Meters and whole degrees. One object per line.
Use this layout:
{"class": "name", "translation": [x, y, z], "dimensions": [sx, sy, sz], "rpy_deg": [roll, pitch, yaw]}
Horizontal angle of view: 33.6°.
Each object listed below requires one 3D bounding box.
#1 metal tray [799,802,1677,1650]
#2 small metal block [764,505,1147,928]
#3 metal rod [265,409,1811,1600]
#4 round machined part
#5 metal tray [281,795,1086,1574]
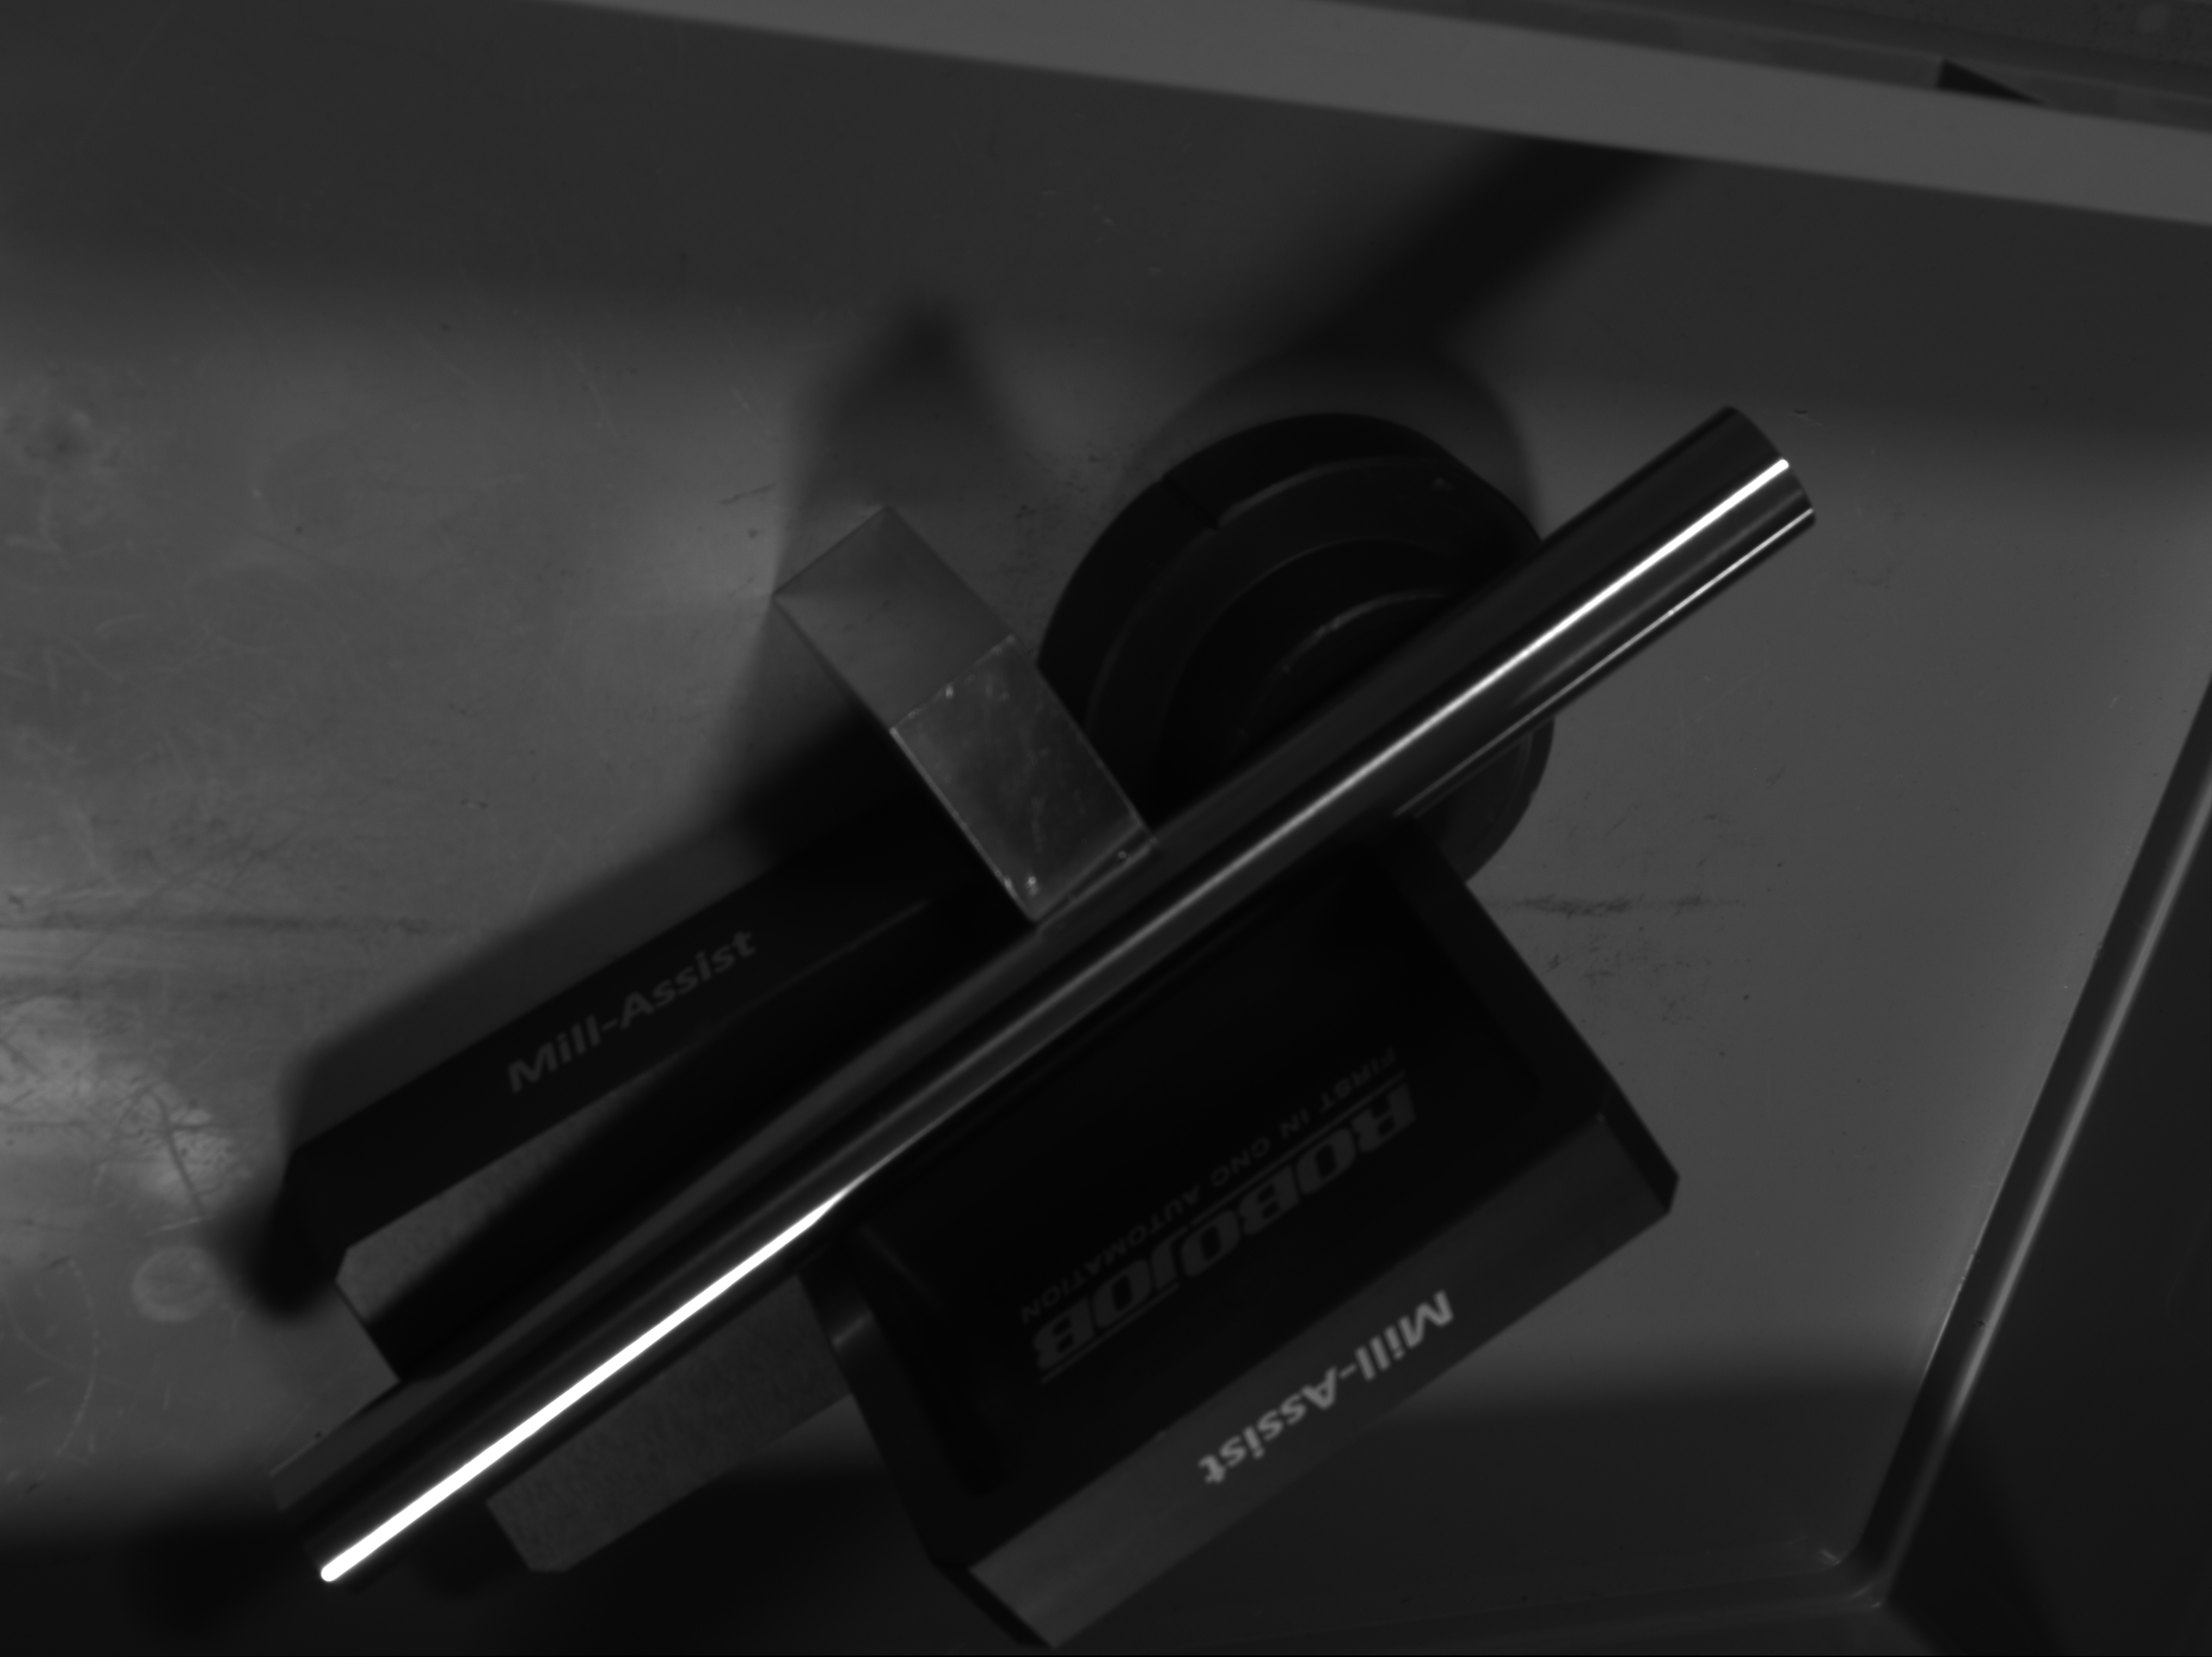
{"class": "metal tray", "translation": [0.017, 0.063, 0.606], "dimensions": [0.130, 0.090, 0.030], "rpy_deg": [-36, 133, 2]}
{"class": "small metal block", "translation": [-0.025, -0.019, 0.607], "dimensions": [0.025, 0.050, 0.050], "rpy_deg": [-38, 130, -4]}
{"class": "metal rod", "translation": [-0.011, 0.029, 0.610], "dimensions": [0.300, 0.025, 0.025], "rpy_deg": [-36, 130, -1]}
{"class": "round machined part", "translation": [0.039, -0.020, 0.648], "dimensions": [0.098, 0.042, 0.098], "rpy_deg": [-15, 125, -22]}
{"class": "metal tray", "translation": [-0.067, 0.064, 0.647], "dimensions": [0.130, 0.030, 0.090], "rpy_deg": [-31, 129, -10]}
